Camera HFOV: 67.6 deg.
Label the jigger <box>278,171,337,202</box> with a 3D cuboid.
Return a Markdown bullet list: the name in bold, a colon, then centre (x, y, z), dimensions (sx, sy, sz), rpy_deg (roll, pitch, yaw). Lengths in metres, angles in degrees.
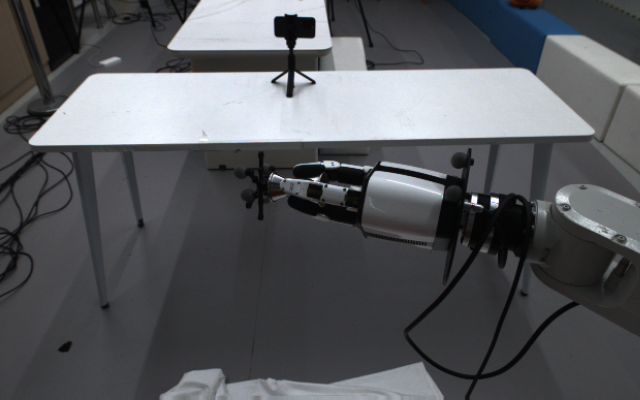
- **jigger**: centre (-0.020, -0.019, 0.609), dimensions (0.071, 0.043, 0.043), rpy_deg (2, 34, 17)
